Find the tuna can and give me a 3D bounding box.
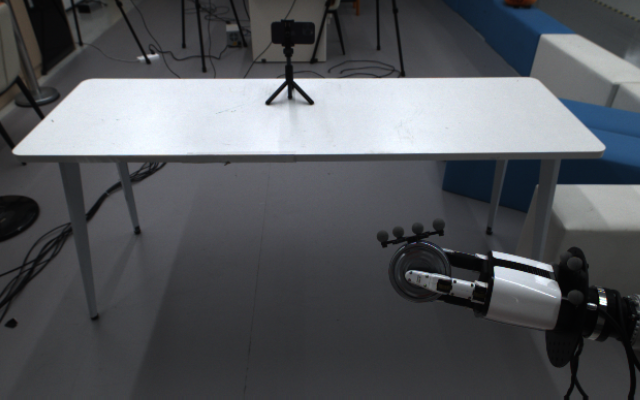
[{"bbox_3d":[0.143,0.097,0.677,0.085,0.085,0.034,12,3,14],"label":"tuna can"}]
